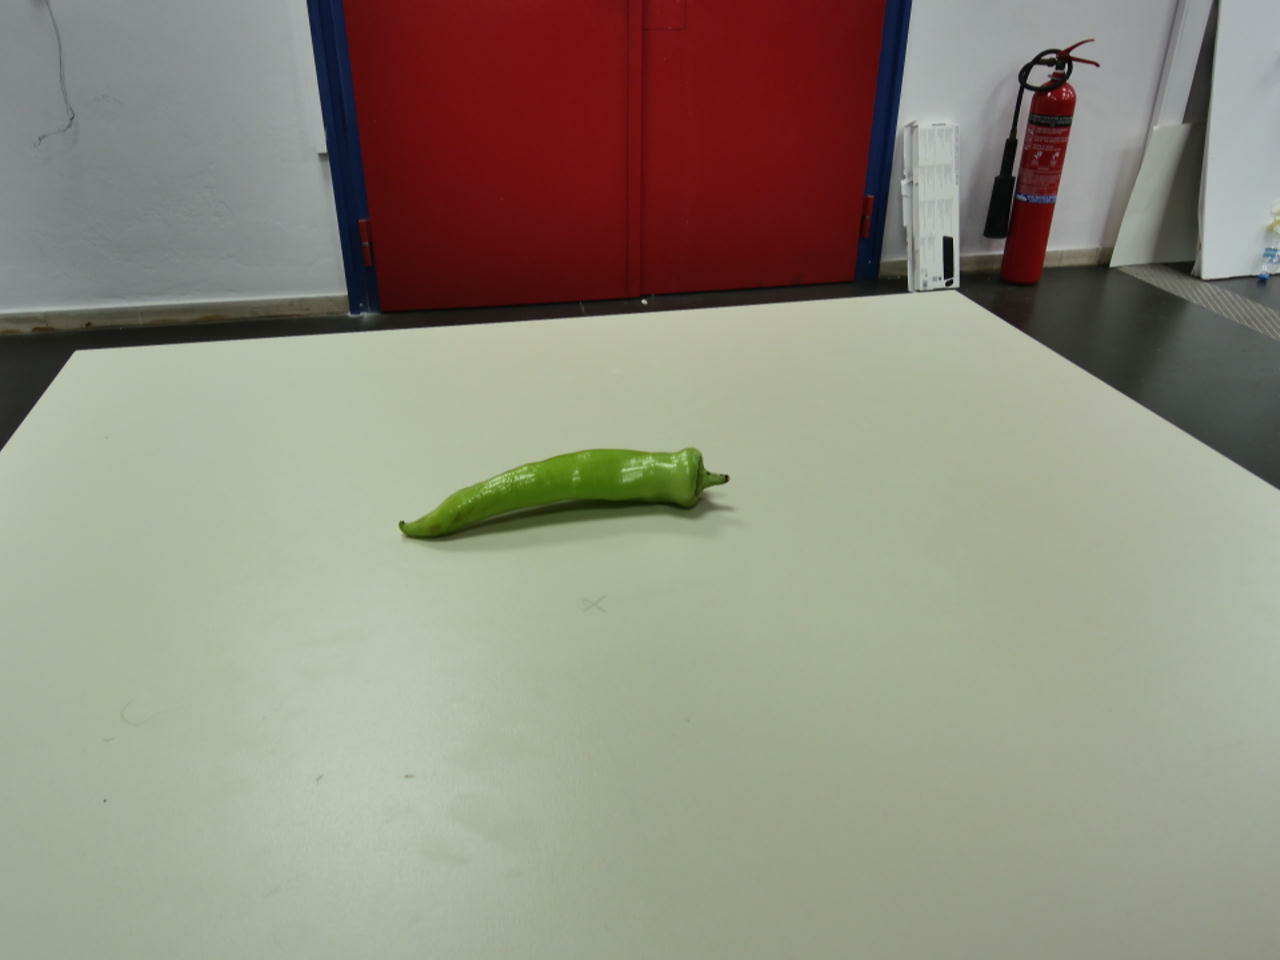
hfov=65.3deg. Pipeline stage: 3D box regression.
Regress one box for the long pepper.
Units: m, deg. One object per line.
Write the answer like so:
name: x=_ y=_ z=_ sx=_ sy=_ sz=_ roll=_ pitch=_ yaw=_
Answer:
long pepper: x=-0.044 y=0.003 z=0.598 sx=0.197 sy=0.038 sz=0.046 roll=-5 pitch=27 yaw=-9
